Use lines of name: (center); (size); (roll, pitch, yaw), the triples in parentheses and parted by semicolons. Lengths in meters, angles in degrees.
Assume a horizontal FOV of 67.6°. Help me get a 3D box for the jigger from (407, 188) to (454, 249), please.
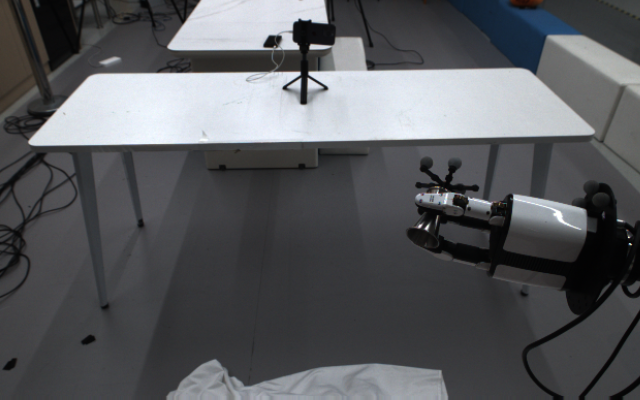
jigger: (0.141, 0.017, 0.614); (0.043, 0.043, 0.071); (19, 61, 23)
